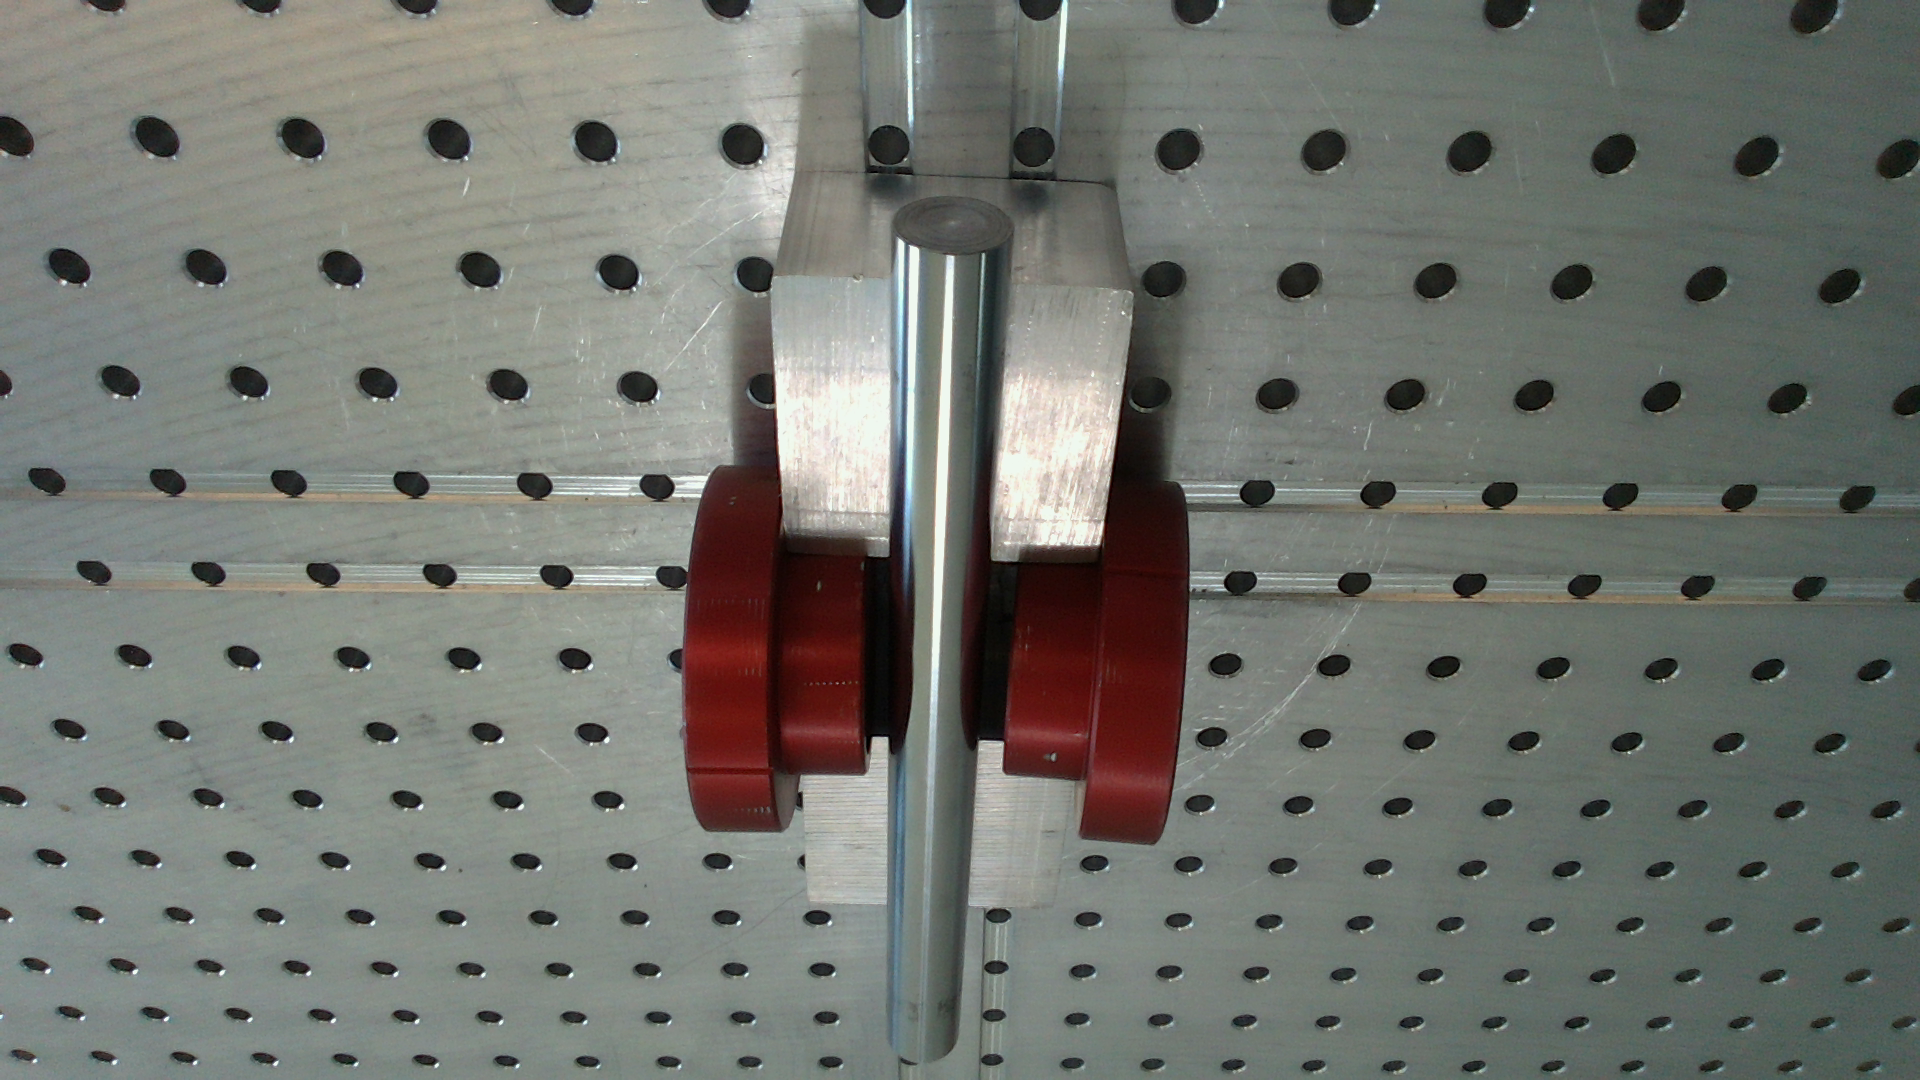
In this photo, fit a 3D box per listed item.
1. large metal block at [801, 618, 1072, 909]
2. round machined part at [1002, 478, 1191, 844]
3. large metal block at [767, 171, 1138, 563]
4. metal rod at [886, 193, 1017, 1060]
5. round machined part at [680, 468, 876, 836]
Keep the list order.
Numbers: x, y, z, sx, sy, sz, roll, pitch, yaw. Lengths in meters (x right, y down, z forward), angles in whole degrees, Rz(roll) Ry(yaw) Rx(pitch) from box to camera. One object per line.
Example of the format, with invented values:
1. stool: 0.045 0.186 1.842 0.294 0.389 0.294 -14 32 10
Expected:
1. large metal block: -0.008 0.071 0.437 0.080 0.050 0.080 2 130 -2
2. round machined part: 0.035 0.032 0.372 0.042 0.098 0.098 4 130 3
3. large metal block: -0.003 -0.042 0.341 0.080 0.050 0.080 1 130 -1
4. metal rod: -0.007 0.051 0.371 0.025 0.025 0.300 2 130 -2
5. round machined part: -0.045 0.030 0.370 0.042 0.098 0.098 1 130 -1
